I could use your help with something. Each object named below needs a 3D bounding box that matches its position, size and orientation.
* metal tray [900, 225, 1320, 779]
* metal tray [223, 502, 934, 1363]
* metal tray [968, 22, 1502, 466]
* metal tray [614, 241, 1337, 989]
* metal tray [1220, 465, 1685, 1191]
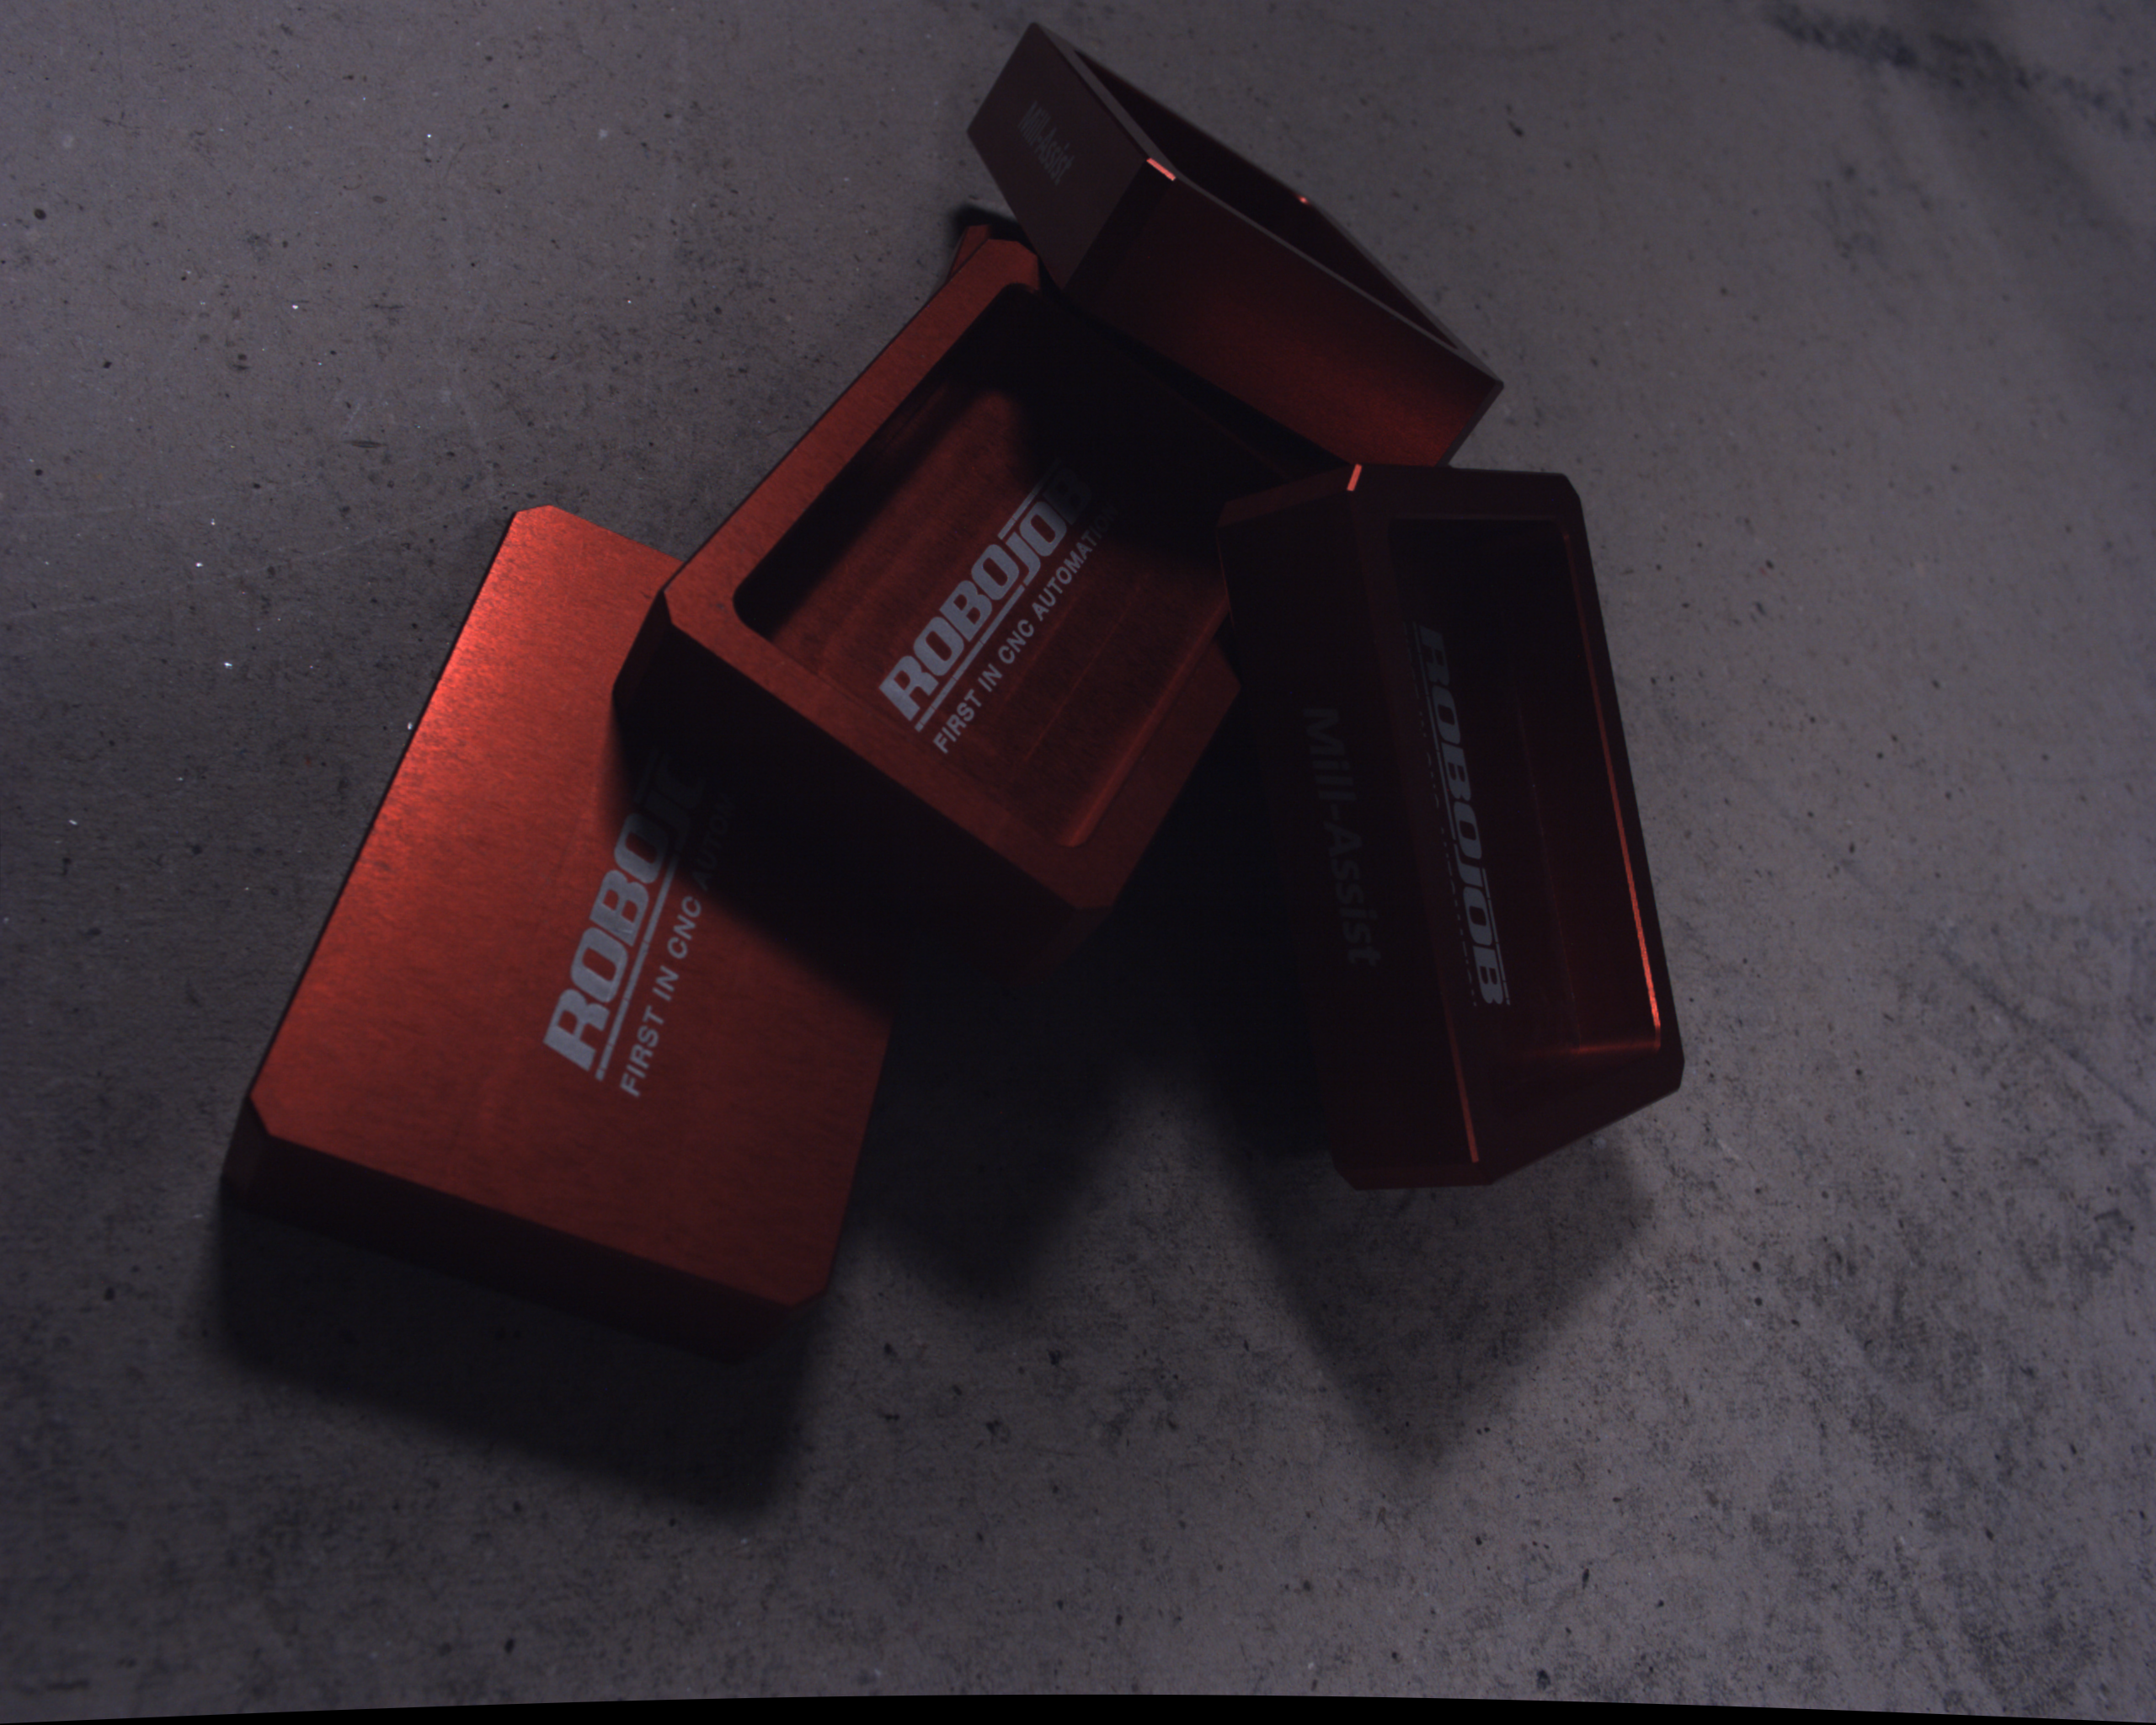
[{"bbox_3d":[0.019,-0.075,0.460,0.131,0.030,0.090,24,53,-14],"label":"metal tray"},{"bbox_3d":[-0.075,0.009,0.356,0.091,0.030,0.130,22,53,-15],"label":"metal tray"},{"bbox_3d":[0.030,-0.134,0.458,0.090,0.030,0.130,24,25,-26],"label":"metal tray"},{"bbox_3d":[-0.012,-0.051,0.389,0.090,0.030,0.130,36,51,-5],"label":"metal tray"},{"bbox_3d":[0.076,-0.010,0.407,0.091,0.030,0.129,-11,91,-50],"label":"metal tray"}]
